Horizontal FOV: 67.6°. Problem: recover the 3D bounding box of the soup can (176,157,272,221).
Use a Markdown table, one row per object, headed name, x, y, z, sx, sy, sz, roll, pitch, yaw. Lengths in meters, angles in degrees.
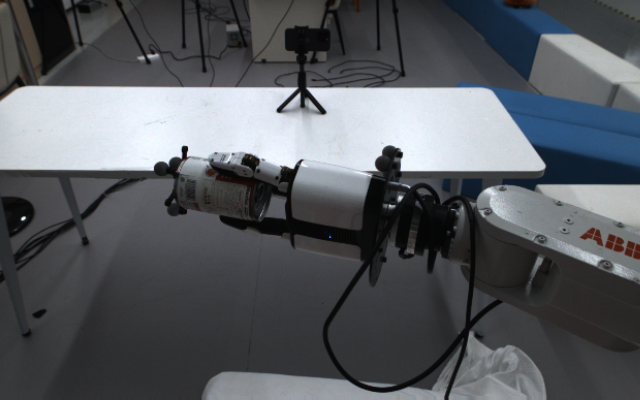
| name | x | y | z | sx | sy | sz | roll | pitch | yaw |
| --- | --- | --- | --- | --- | --- | --- | --- | --- | --- |
| soup can | -0.115 | -0.013 | 0.594 | 0.101 | 0.067 | 0.067 | 10 | 35 | 10 |
